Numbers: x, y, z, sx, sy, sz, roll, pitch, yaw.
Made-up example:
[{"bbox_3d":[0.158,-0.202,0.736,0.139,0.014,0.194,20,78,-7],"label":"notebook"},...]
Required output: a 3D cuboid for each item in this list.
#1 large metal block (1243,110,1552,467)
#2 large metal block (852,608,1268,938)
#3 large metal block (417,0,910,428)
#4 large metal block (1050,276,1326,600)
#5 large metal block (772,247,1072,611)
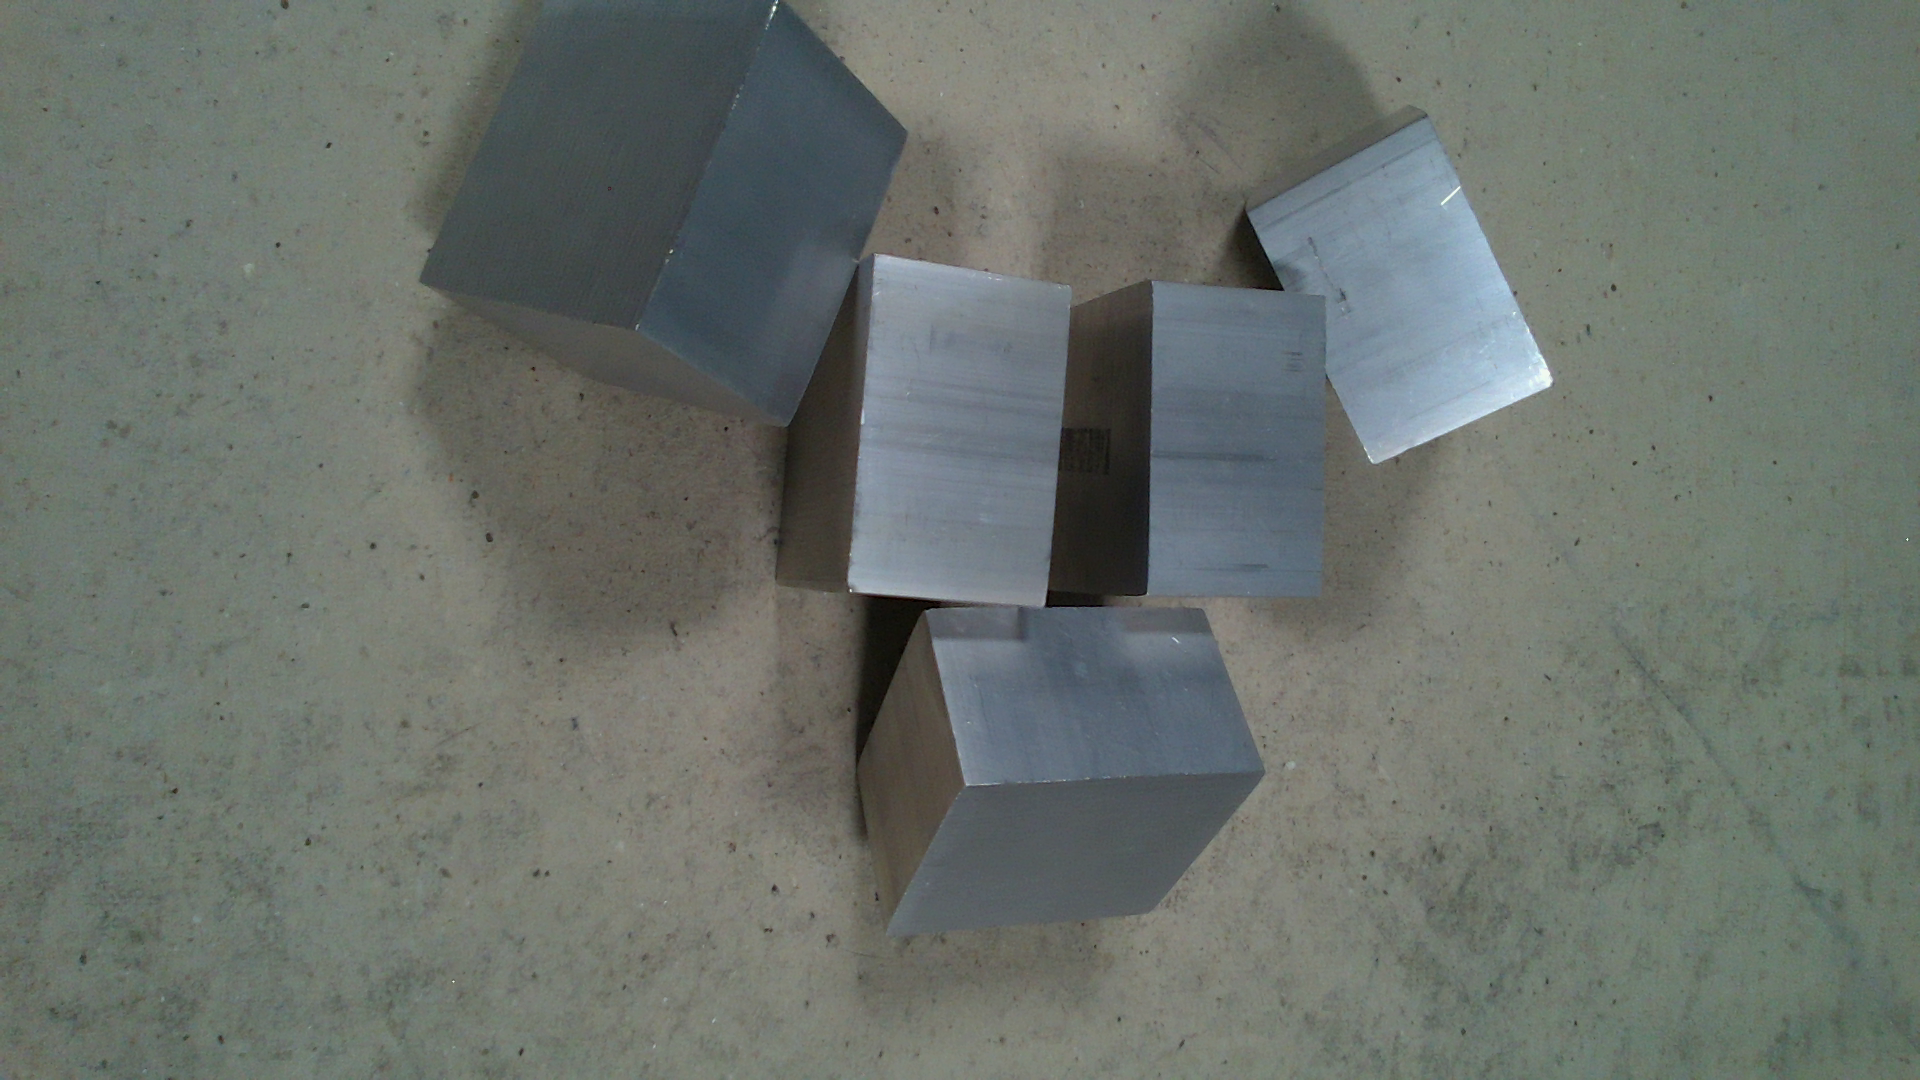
[{"bbox_3d":[0.126,-0.077,0.403,0.050,0.080,0.080,-26,100,20],"label":"large metal block"},{"bbox_3d":[0.022,0.062,0.366,0.080,0.080,0.050,1,51,-20],"label":"large metal block"},{"bbox_3d":[-0.071,-0.080,0.329,0.050,0.080,0.080,32,77,-54],"label":"large metal block"},{"bbox_3d":[0.057,-0.025,0.386,0.050,0.080,0.080,1,90,-20],"label":"large metal block"},{"bbox_3d":[-0.013,-0.025,0.360,0.050,0.080,0.080,5,88,-20],"label":"large metal block"}]
